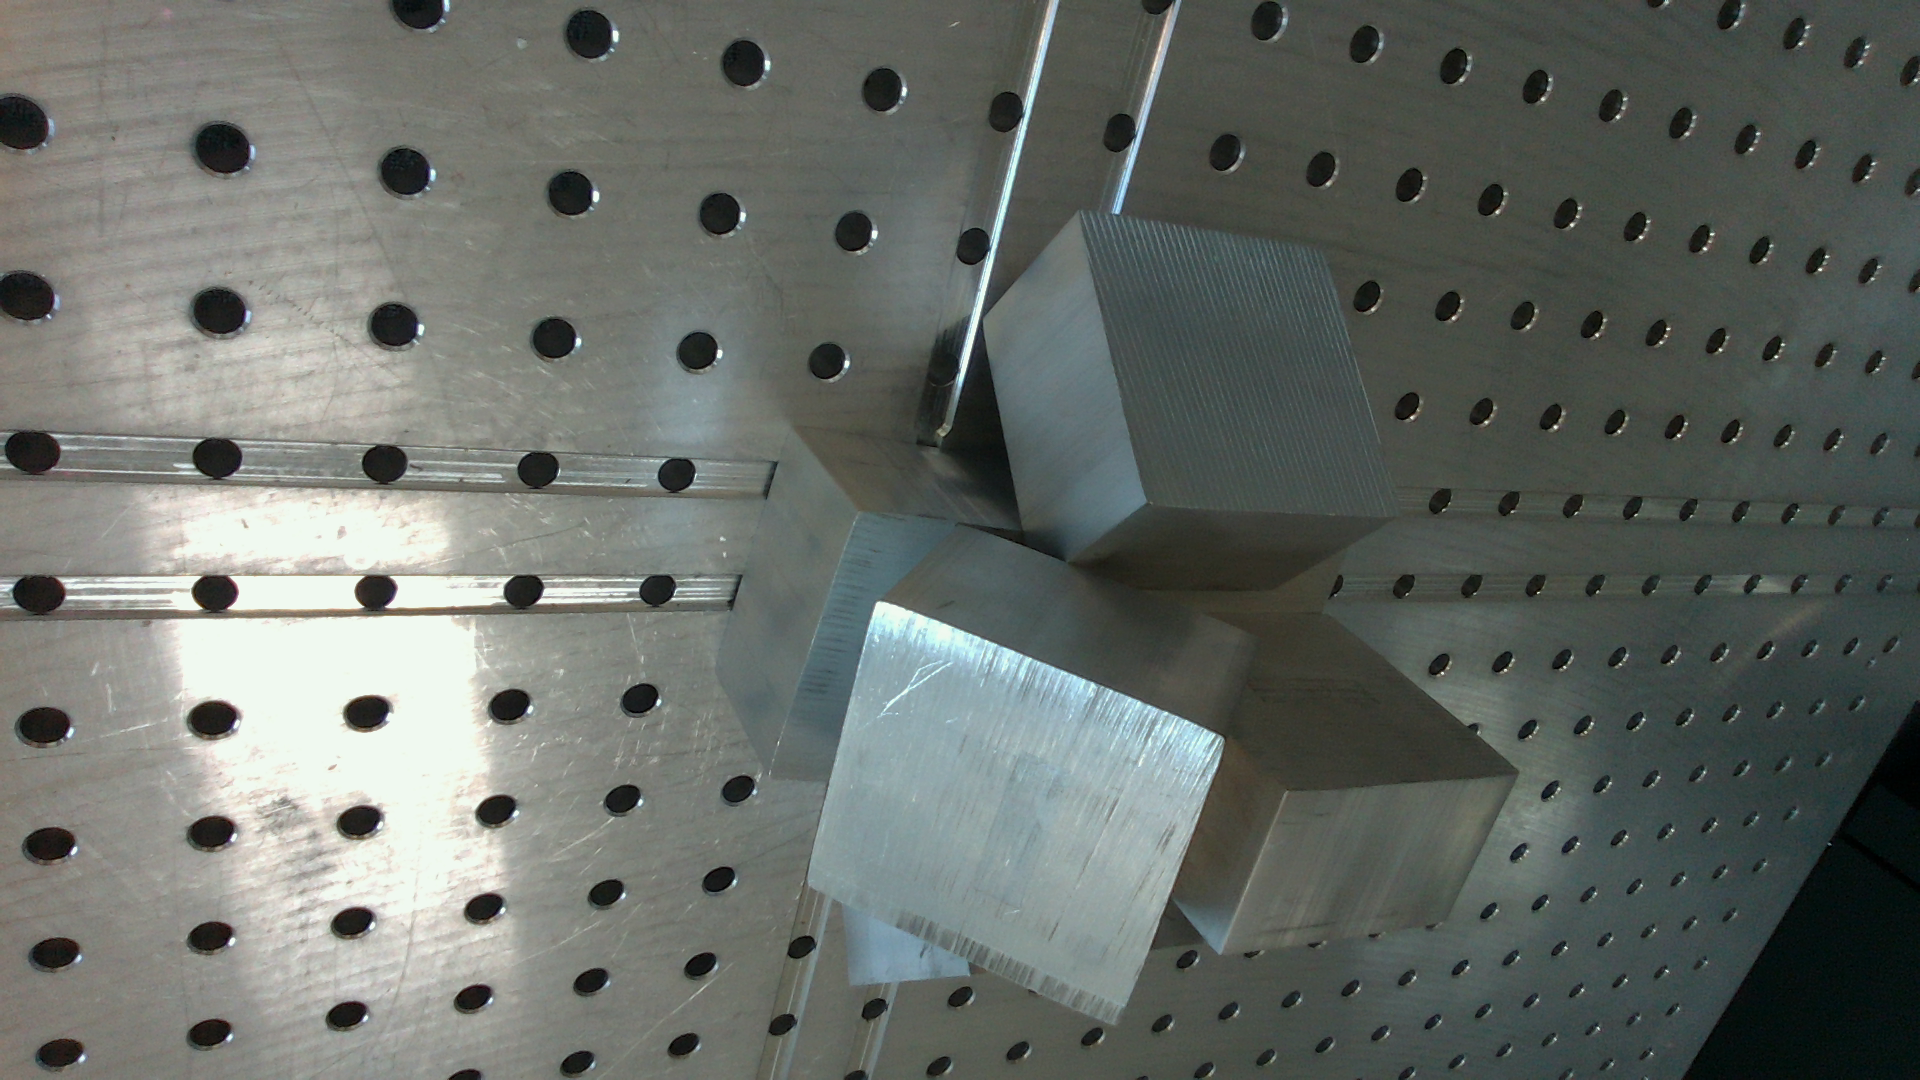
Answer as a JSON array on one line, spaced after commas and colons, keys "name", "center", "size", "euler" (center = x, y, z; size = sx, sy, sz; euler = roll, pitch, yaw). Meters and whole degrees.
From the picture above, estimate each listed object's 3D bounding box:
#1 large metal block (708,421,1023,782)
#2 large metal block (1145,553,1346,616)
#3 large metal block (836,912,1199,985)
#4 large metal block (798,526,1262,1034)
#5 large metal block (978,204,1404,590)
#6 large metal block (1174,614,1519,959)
[{"name": "large metal block", "center": [-0.015, 0.019, 0.380], "size": [0.080, 0.050, 0.080], "euler": [7, 115, -31]}, {"name": "large metal block", "center": [0.059, 0.023, 0.422], "size": [0.080, 0.050, 0.080], "euler": [3, 117, -30]}, {"name": "large metal block", "center": [0.014, 0.104, 0.421], "size": [0.080, 0.050, 0.080], "euler": [2, 162, -29]}, {"name": "large metal block", "center": [0.016, 0.054, 0.323], "size": [0.080, 0.050, 0.080], "euler": [21, 115, 12]}, {"name": "large metal block", "center": [0.058, -0.034, 0.358], "size": [0.080, 0.080, 0.050], "euler": [2, 156, -29]}, {"name": "large metal block", "center": [0.087, 0.063, 0.378], "size": [0.080, 0.080, 0.050], "euler": [1, 118, -29]}]
